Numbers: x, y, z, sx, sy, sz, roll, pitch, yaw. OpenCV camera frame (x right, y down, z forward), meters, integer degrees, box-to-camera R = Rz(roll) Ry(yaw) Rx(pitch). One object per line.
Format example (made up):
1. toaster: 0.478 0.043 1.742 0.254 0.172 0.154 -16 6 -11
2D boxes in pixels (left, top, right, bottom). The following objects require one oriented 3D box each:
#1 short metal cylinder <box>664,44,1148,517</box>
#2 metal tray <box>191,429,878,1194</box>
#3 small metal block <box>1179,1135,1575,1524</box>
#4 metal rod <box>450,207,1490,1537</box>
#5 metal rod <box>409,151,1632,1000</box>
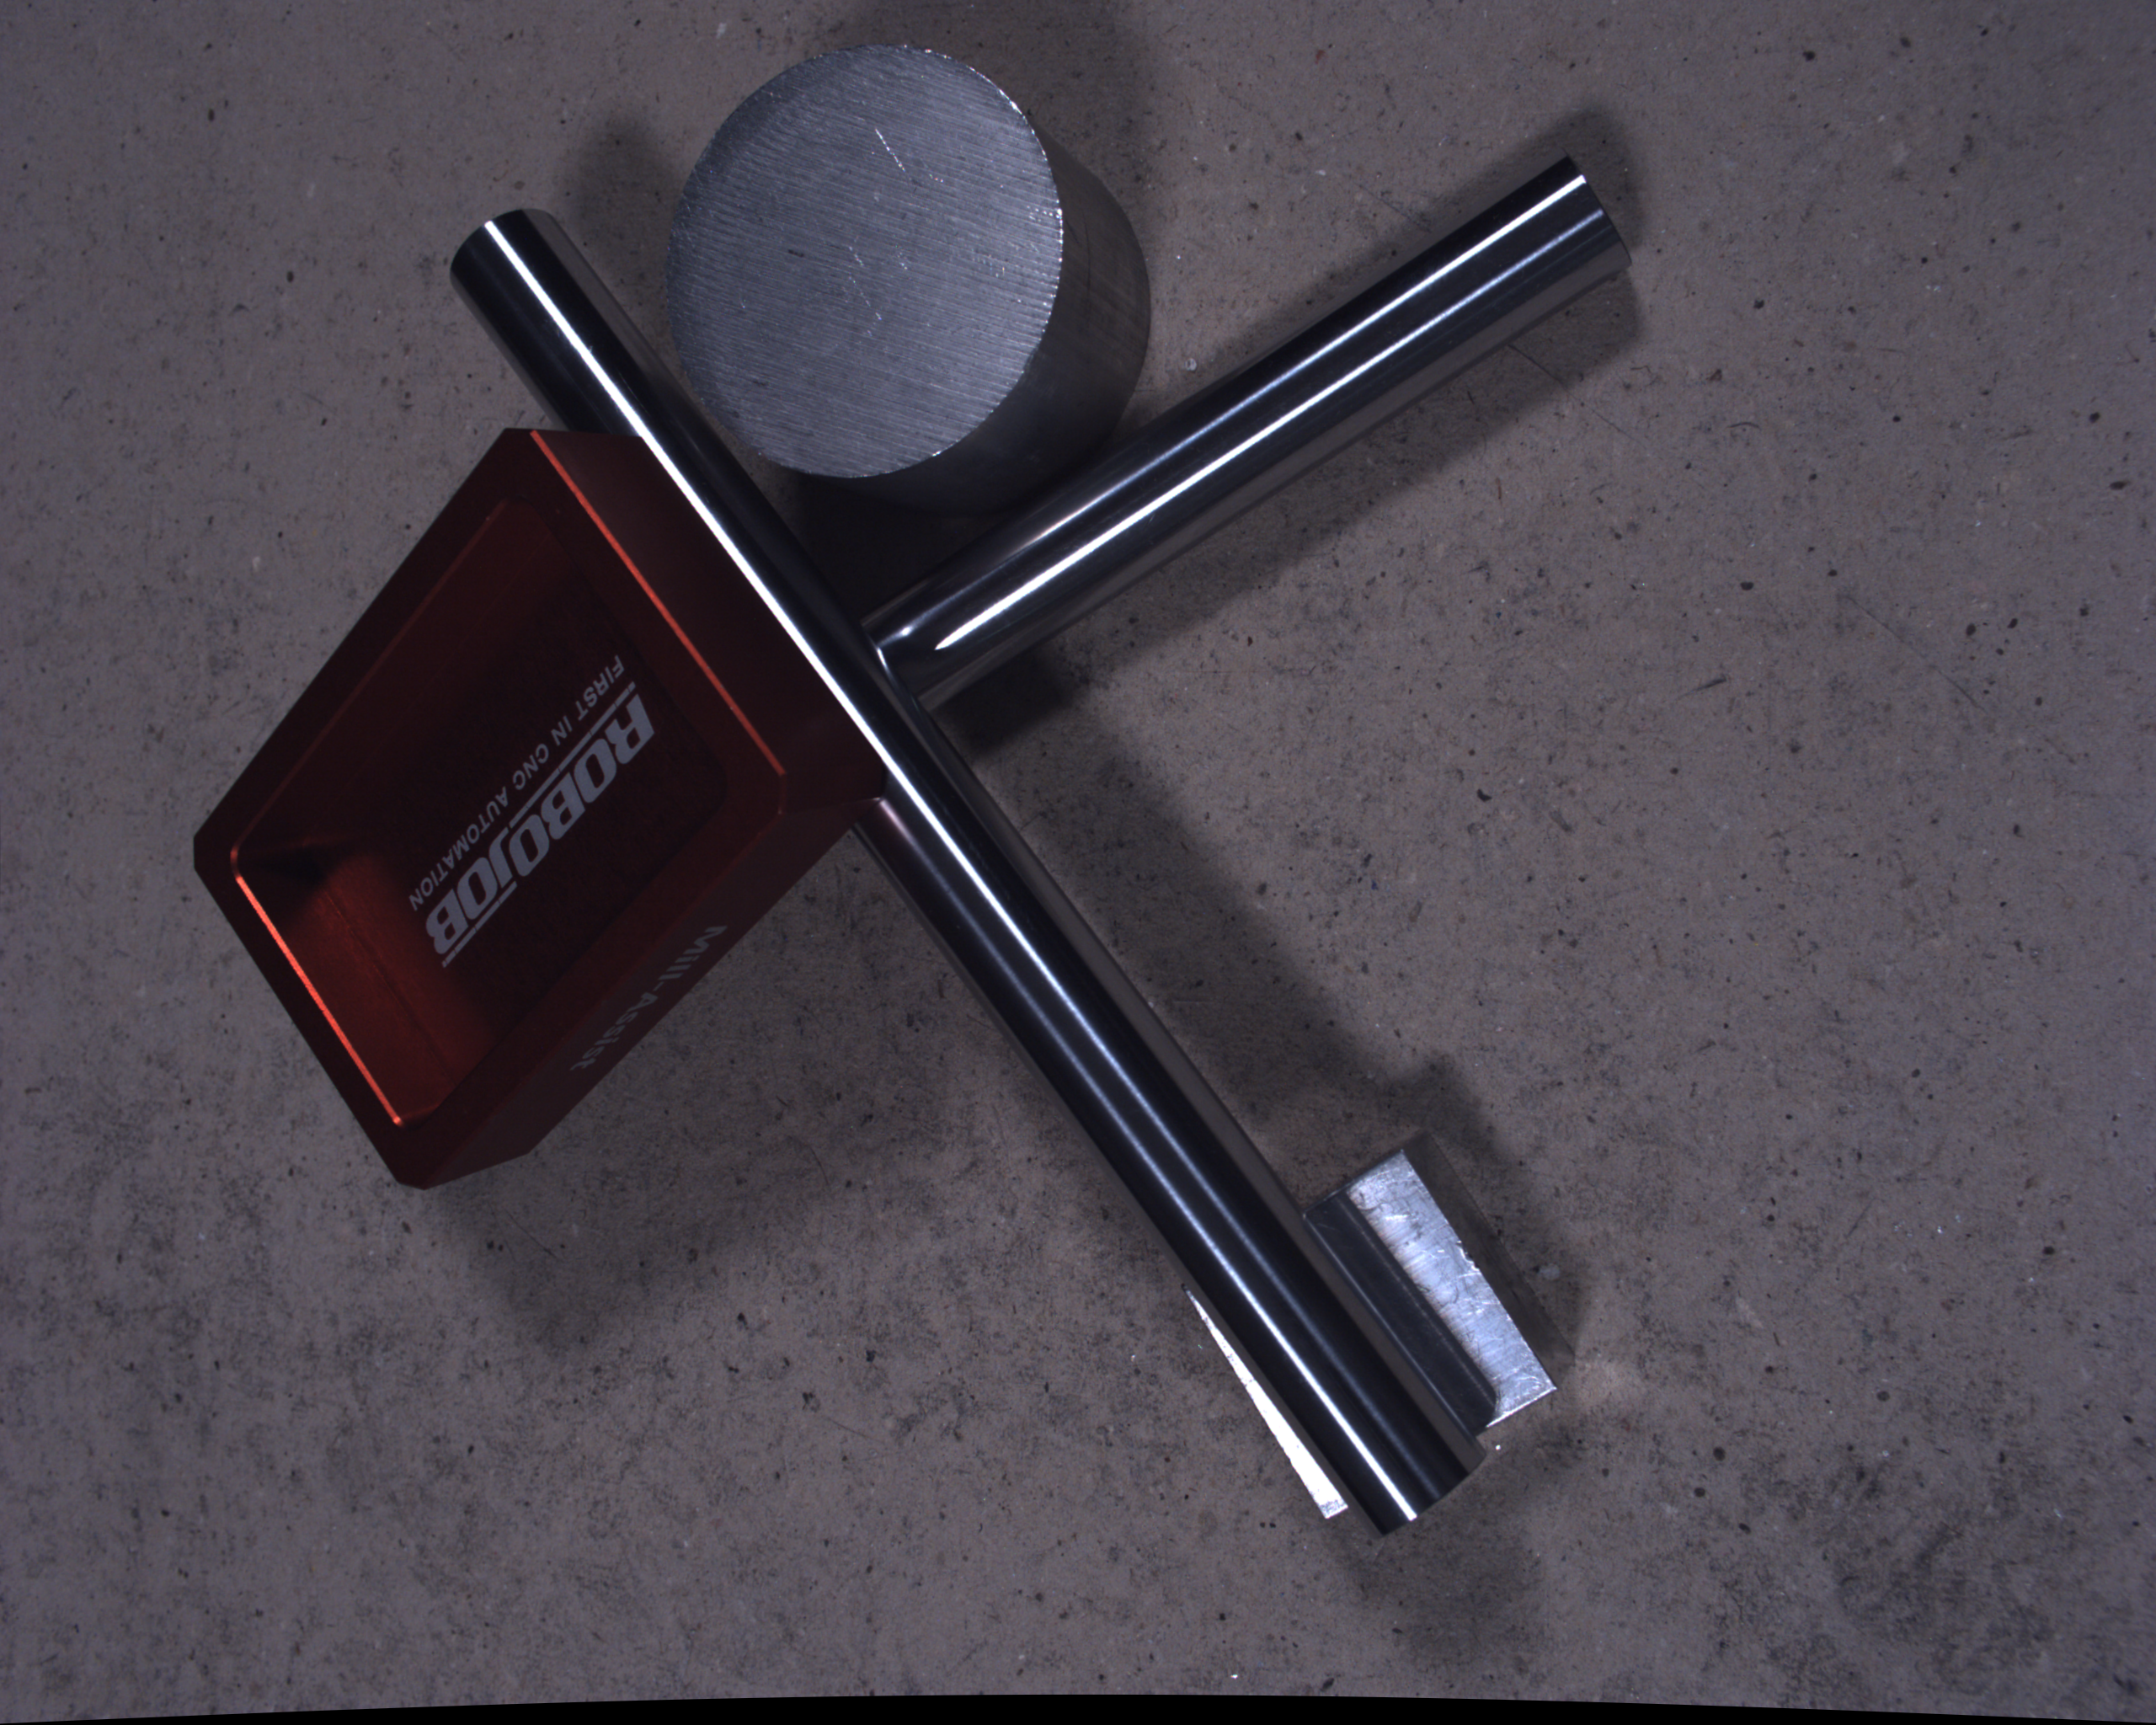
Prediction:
1. short metal cylinder: -0.032 -0.110 0.407 0.080 0.050 0.079 0 90 19
2. metal tray: -0.109 -0.008 0.404 0.130 0.030 0.090 -43 76 26
3. small metal block: 0.056 0.086 0.390 0.050 0.025 0.050 -35 79 16
4. metal rod: -0.027 -0.007 0.393 0.025 0.025 0.299 -41 78 15
5. metal rod: -0.030 -0.044 0.420 0.300 0.025 0.025 -31 80 17
